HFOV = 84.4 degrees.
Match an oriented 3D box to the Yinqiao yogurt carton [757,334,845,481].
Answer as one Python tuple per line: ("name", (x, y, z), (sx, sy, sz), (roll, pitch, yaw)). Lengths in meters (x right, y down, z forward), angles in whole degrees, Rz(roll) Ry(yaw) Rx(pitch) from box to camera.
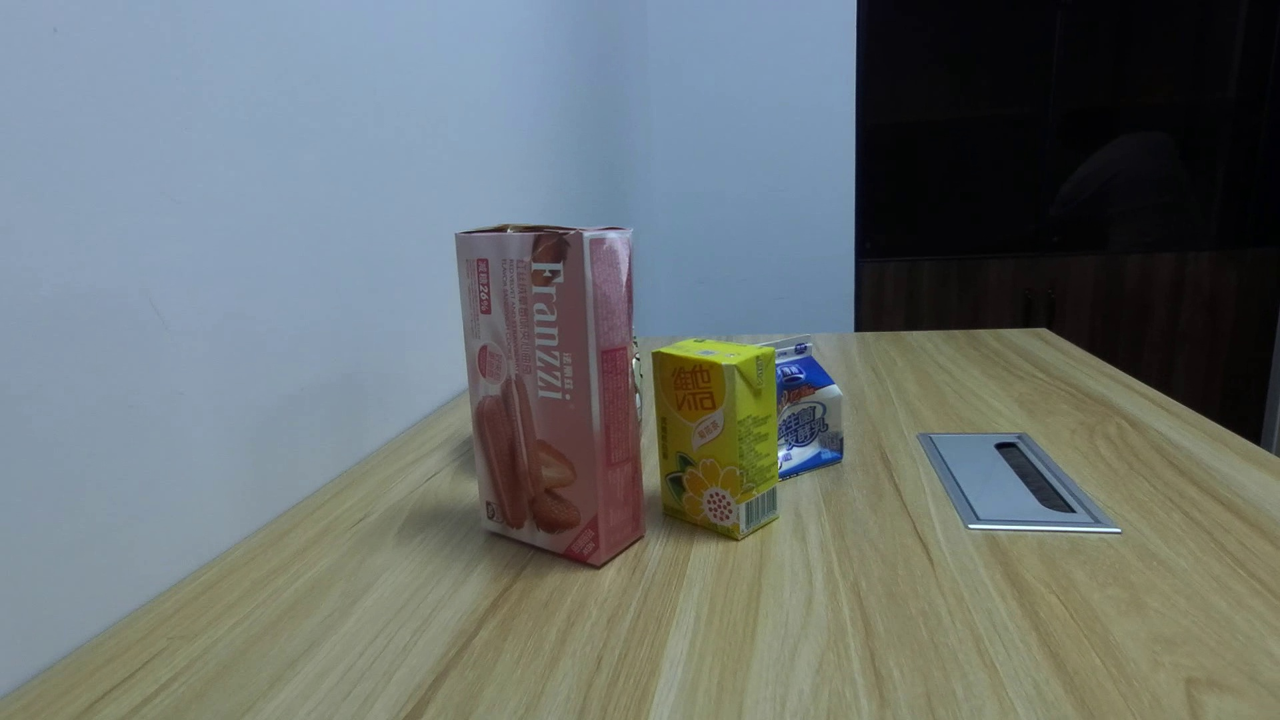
("Yinqiao yogurt carton", (0.099, 0.030, 0.515), (0.078, 0.094, 0.070), (-12, 21, -24))

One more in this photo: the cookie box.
("cookie box", (-0.048, 0.017, 0.410), (0.104, 0.187, 0.049), (6, 15, 35))

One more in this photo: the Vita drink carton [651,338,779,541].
("Vita drink carton", (0.045, 0.045, 0.431), (0.066, 0.109, 0.044), (10, 20, 43))
